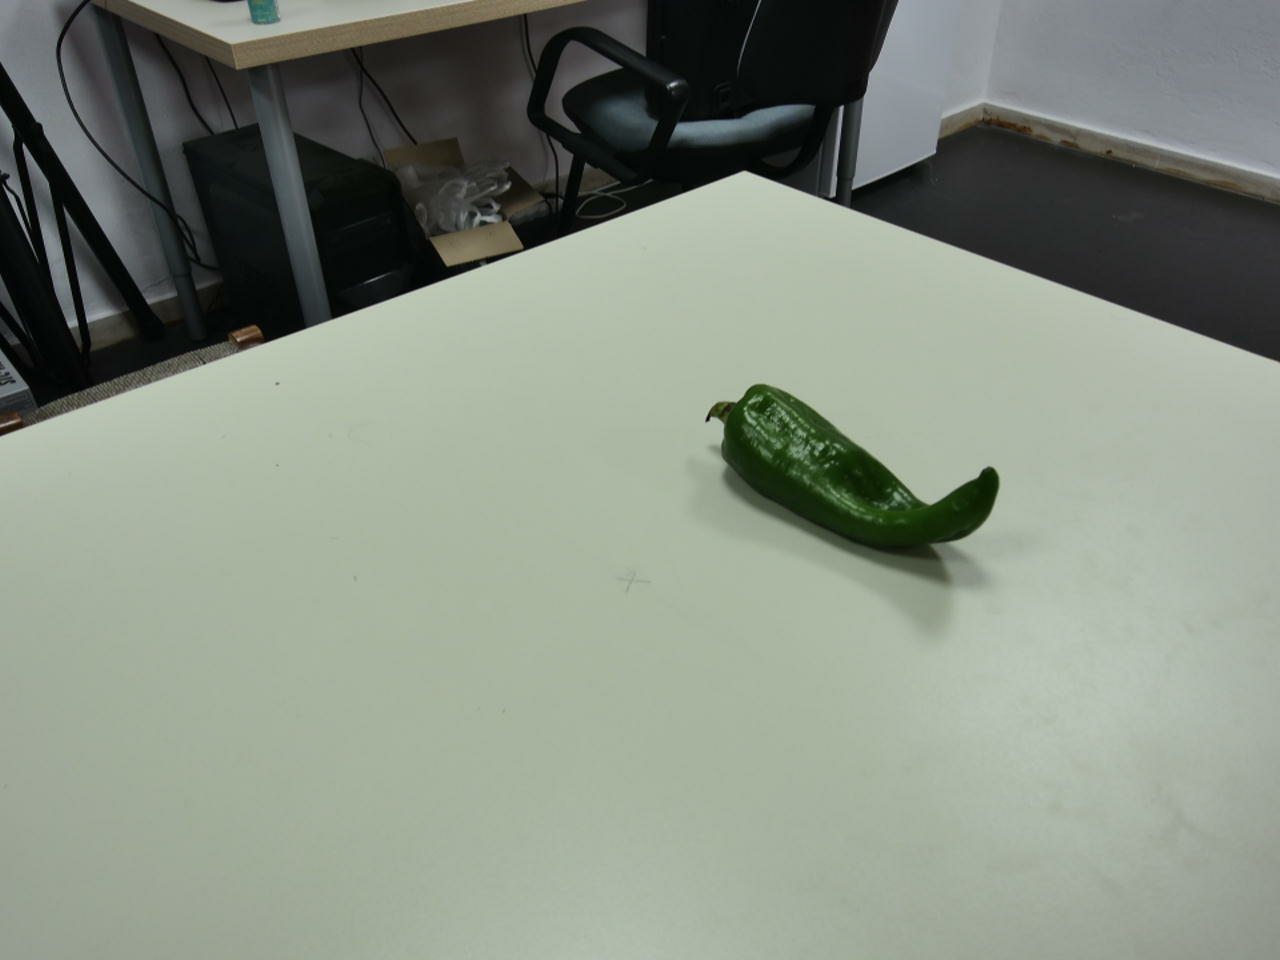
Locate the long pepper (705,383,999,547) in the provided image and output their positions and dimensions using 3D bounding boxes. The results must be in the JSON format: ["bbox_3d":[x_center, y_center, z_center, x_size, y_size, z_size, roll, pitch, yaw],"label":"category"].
[{"bbox_3d":[0.101,-0.011,0.526,0.058,0.065,0.175,-28,44,-32],"label":"long pepper"}]
